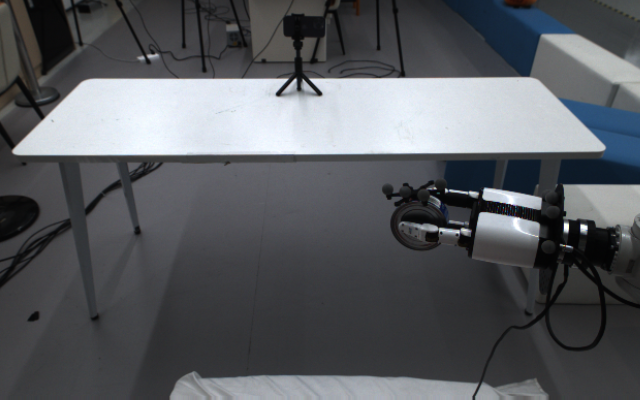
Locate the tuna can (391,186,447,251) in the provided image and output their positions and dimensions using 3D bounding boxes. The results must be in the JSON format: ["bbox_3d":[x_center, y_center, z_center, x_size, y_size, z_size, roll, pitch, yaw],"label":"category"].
[{"bbox_3d":[0.154,0.033,0.739,0.085,0.085,0.034,13,27,16],"label":"tuna can"}]
